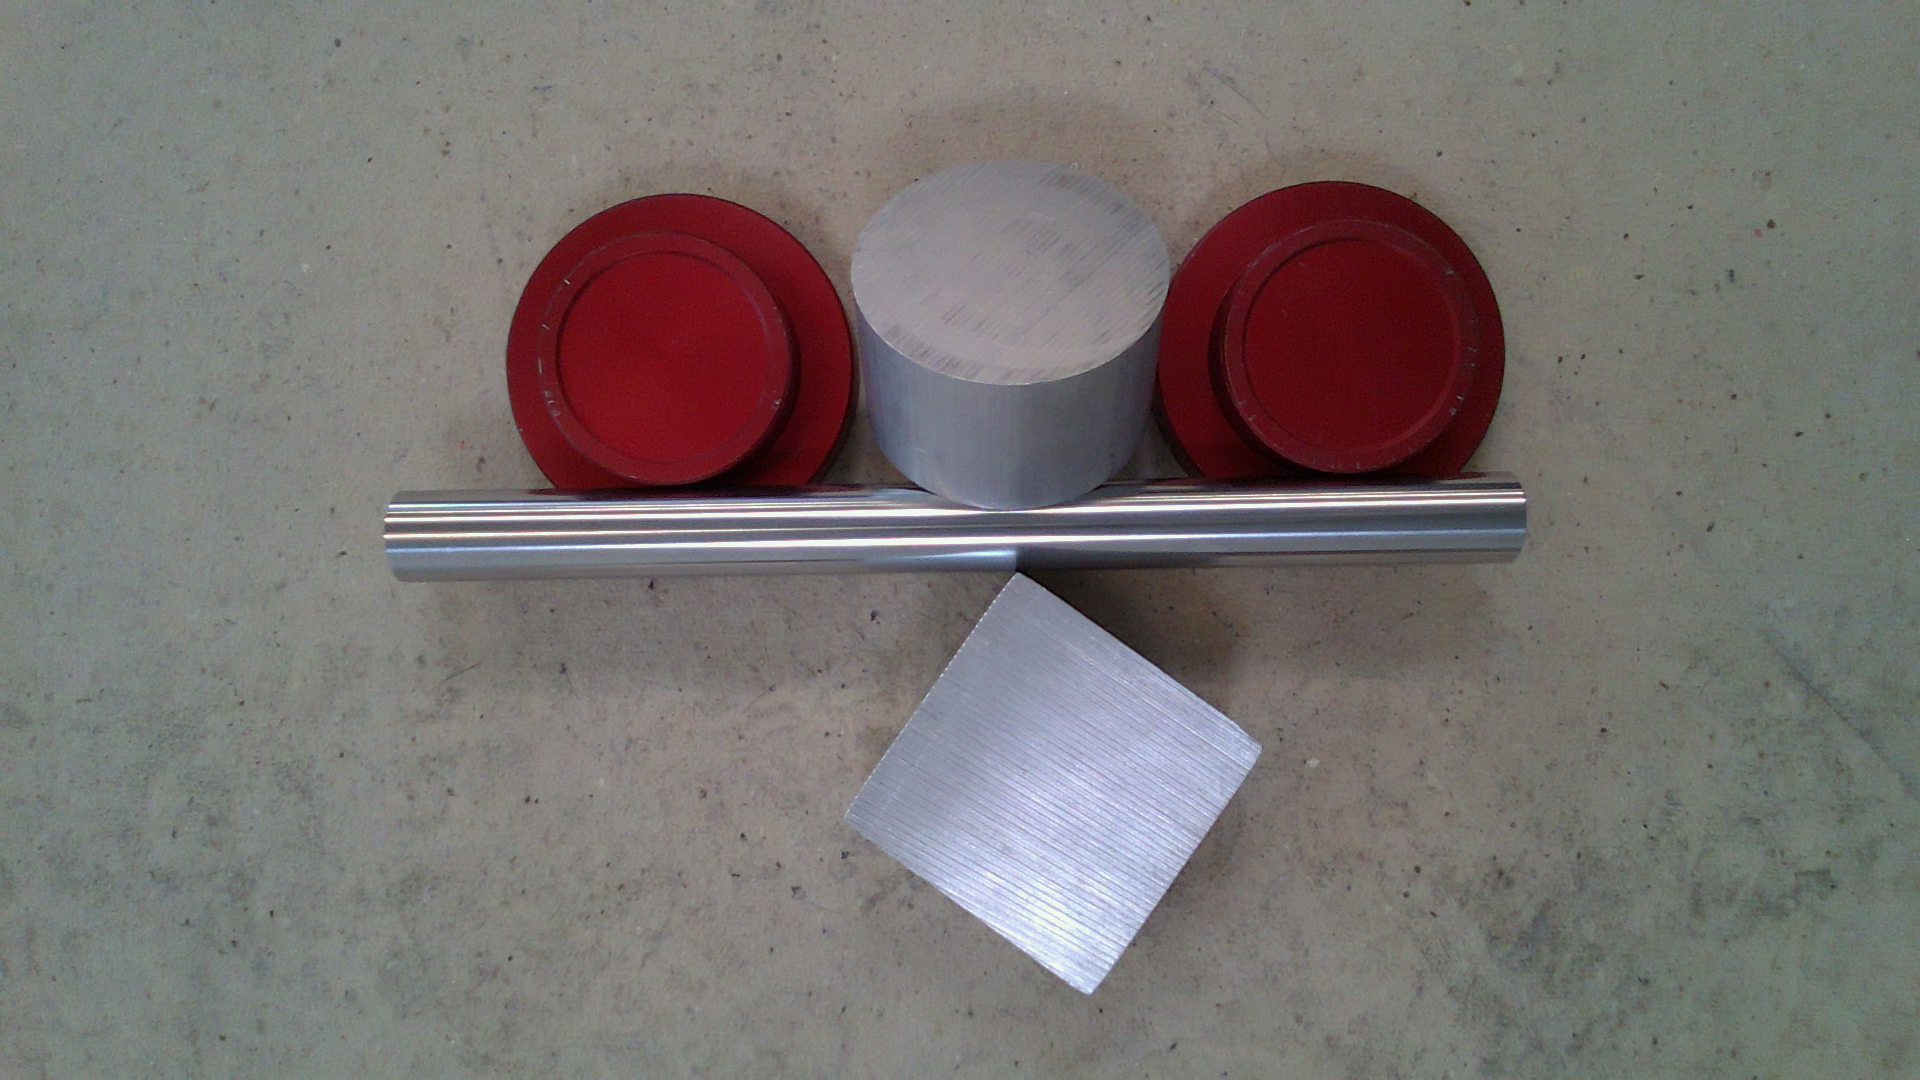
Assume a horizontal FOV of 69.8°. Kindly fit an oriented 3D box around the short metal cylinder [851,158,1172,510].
[{"bbox_3d":[0.013,-0.055,0.364,0.080,0.050,0.080,0,55,0],"label":"short metal cylinder"}]

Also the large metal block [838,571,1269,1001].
[{"bbox_3d":[0.024,0.064,0.381,0.080,0.050,0.080,35,90,0],"label":"large metal block"}]

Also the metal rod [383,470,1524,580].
[{"bbox_3d":[-0.001,-0.004,0.374,0.300,0.025,0.025,-1,90,0],"label":"metal rod"}]

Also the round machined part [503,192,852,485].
[{"bbox_3d":[-0.080,-0.049,0.386,0.098,0.042,0.098,0,90,0],"label":"round machined part"}]

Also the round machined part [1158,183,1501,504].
[{"bbox_3d":[0.104,-0.052,0.387,0.098,0.042,0.098,0,90,0],"label":"round machined part"}]
